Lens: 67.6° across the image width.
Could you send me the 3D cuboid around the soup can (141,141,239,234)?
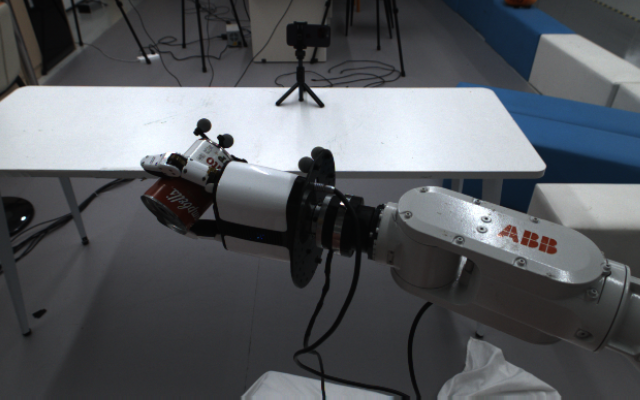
[{"bbox_3d":[-0.154,-0.017,0.584,0.067,0.067,0.101,22,61,27],"label":"soup can"}]
